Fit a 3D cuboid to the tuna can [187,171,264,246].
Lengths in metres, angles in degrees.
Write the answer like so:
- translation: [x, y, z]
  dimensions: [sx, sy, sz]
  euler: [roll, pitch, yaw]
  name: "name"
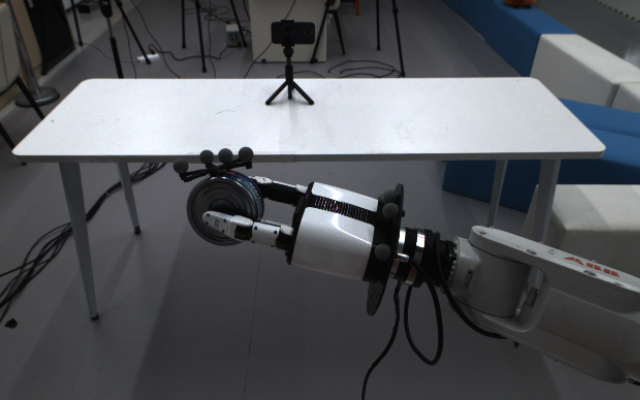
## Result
- translation: [-0.107, 0.016, 0.565]
  dimensions: [0.085, 0.085, 0.034]
  euler: [6, 18, 5]
  name: "tuna can"
